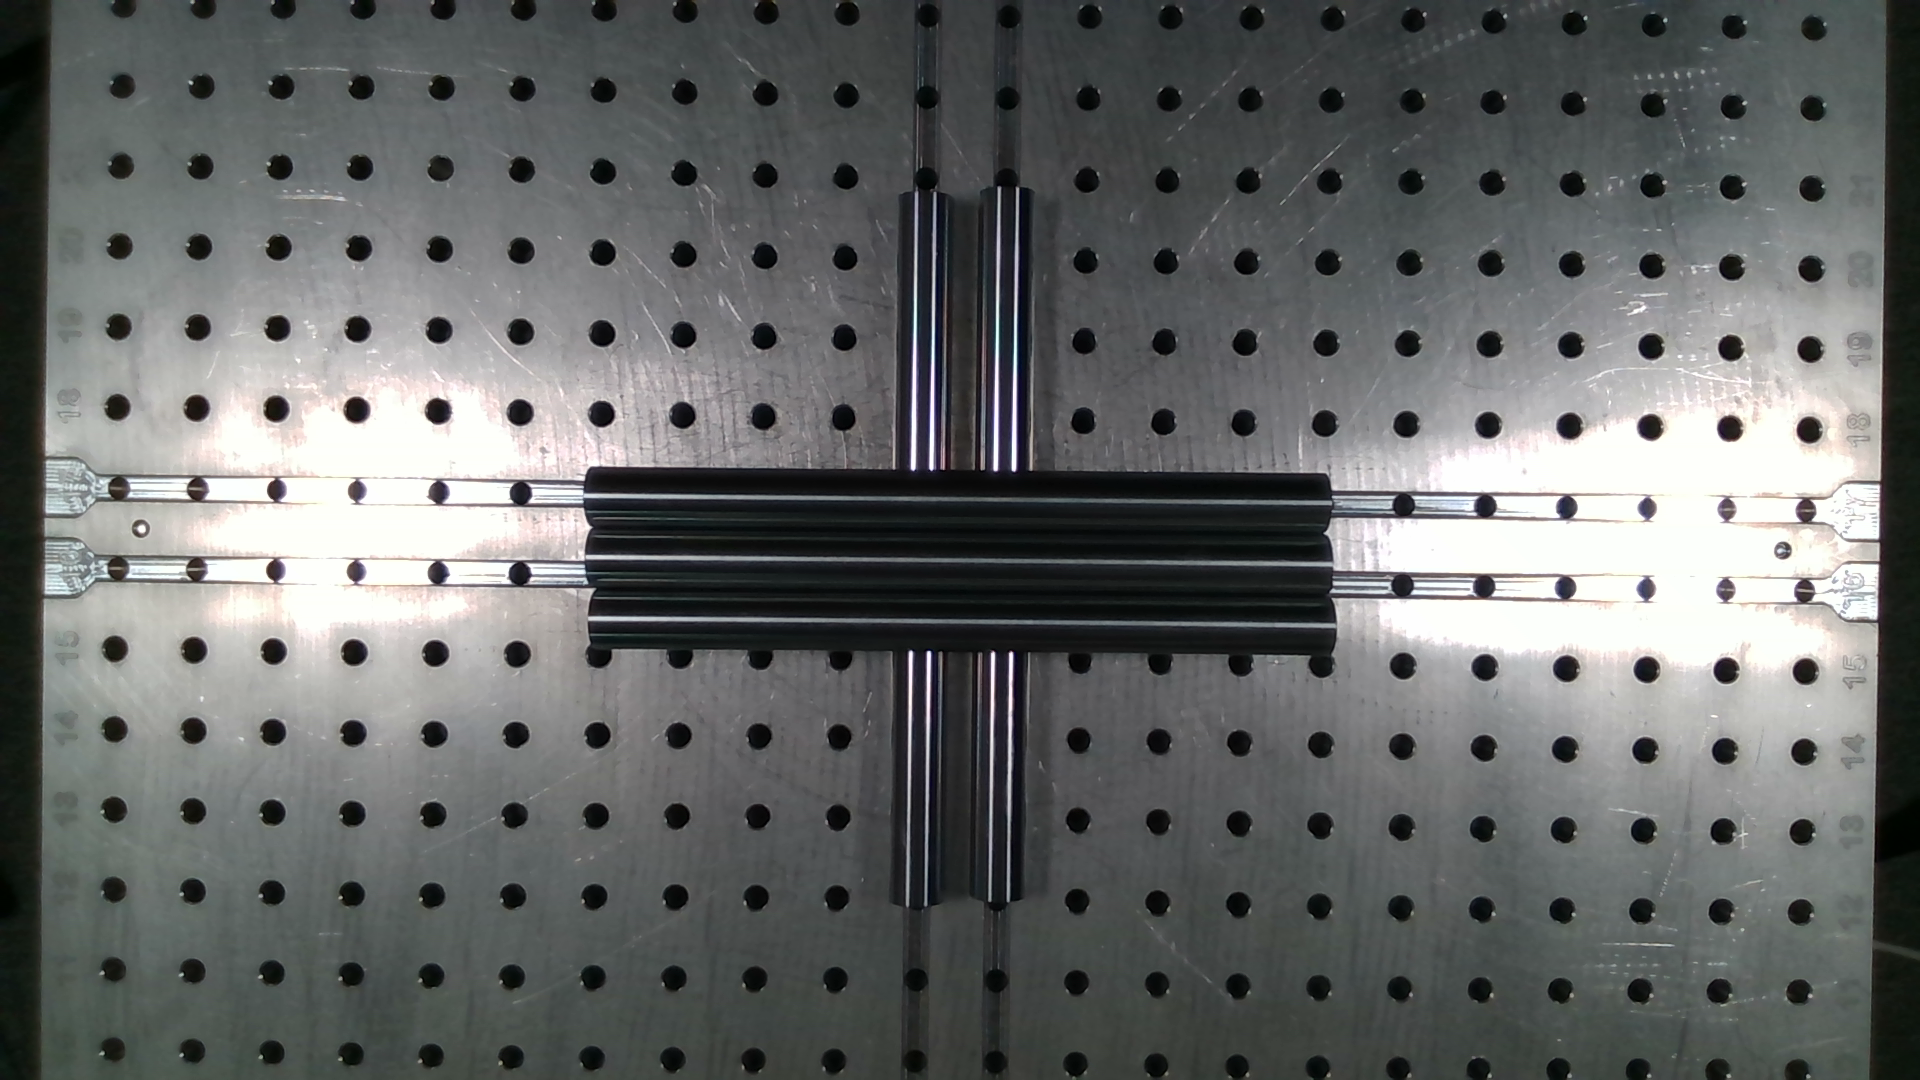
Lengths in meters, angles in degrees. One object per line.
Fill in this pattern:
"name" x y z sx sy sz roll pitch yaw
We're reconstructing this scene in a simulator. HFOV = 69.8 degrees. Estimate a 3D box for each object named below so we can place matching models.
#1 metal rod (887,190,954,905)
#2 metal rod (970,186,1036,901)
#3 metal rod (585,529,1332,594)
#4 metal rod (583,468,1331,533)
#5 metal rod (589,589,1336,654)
"metal rod" -0.017 0.004 0.590 0.025 0.025 0.300 1 91 0
"metal rod" 0.018 0.002 0.590 0.025 0.025 0.300 1 91 0
"metal rod" -0.001 0.009 0.565 0.300 0.025 0.025 0 90 0
"metal rod" -0.001 -0.016 0.564 0.300 0.025 0.025 0 90 0
"metal rod" 0.001 0.034 0.565 0.300 0.025 0.025 0 90 0
